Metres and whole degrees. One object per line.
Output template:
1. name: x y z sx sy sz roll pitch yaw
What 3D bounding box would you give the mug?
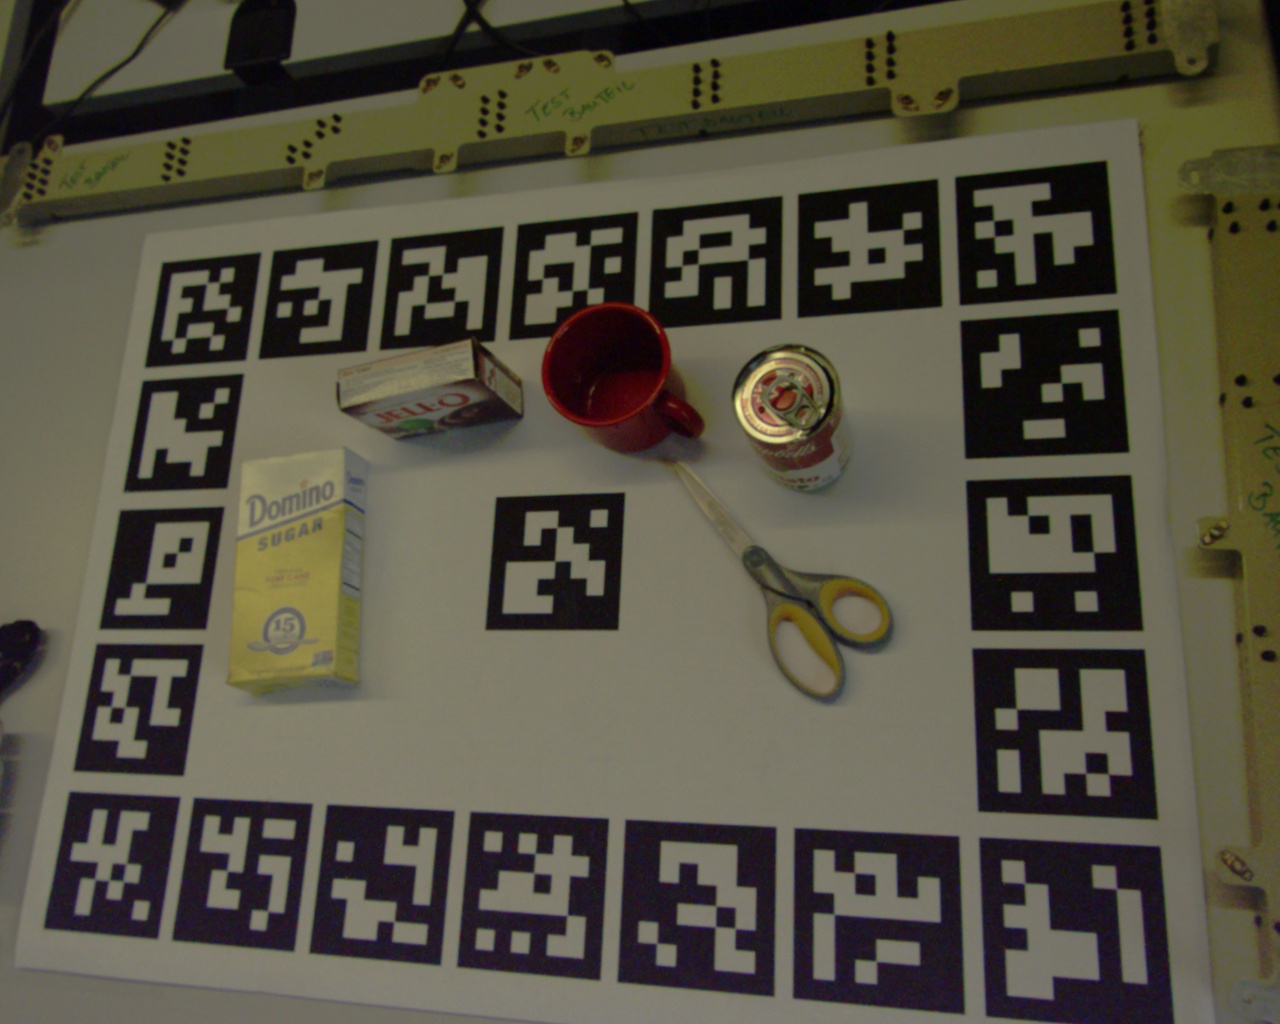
1. mug: -0.008 -0.086 0.839 0.093 0.080 0.118 -38 68 8

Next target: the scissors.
1. scissors: 0.084 0.050 0.809 0.088 0.015 0.204 -46 69 12

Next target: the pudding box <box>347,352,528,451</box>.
1. pudding box: -0.154 -0.083 0.876 0.114 0.089 0.039 -11 80 14

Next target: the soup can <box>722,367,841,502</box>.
1. soup can: 0.101 -0.051 0.793 0.068 0.101 0.068 -5 74 16

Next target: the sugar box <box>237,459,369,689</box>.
1. sugar box: -0.267 0.050 0.908 0.093 0.045 0.177 -5 77 18
